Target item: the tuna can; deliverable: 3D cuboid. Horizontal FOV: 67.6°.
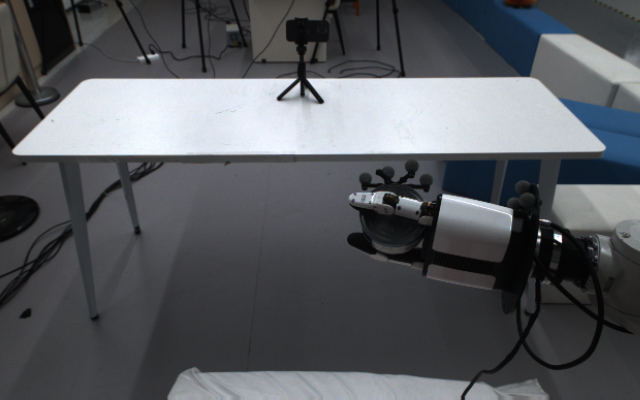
[{"bbox_3d":[0.095,0.023,0.616,0.085,0.034,0.085,-4,61,7],"label":"tuna can"}]
